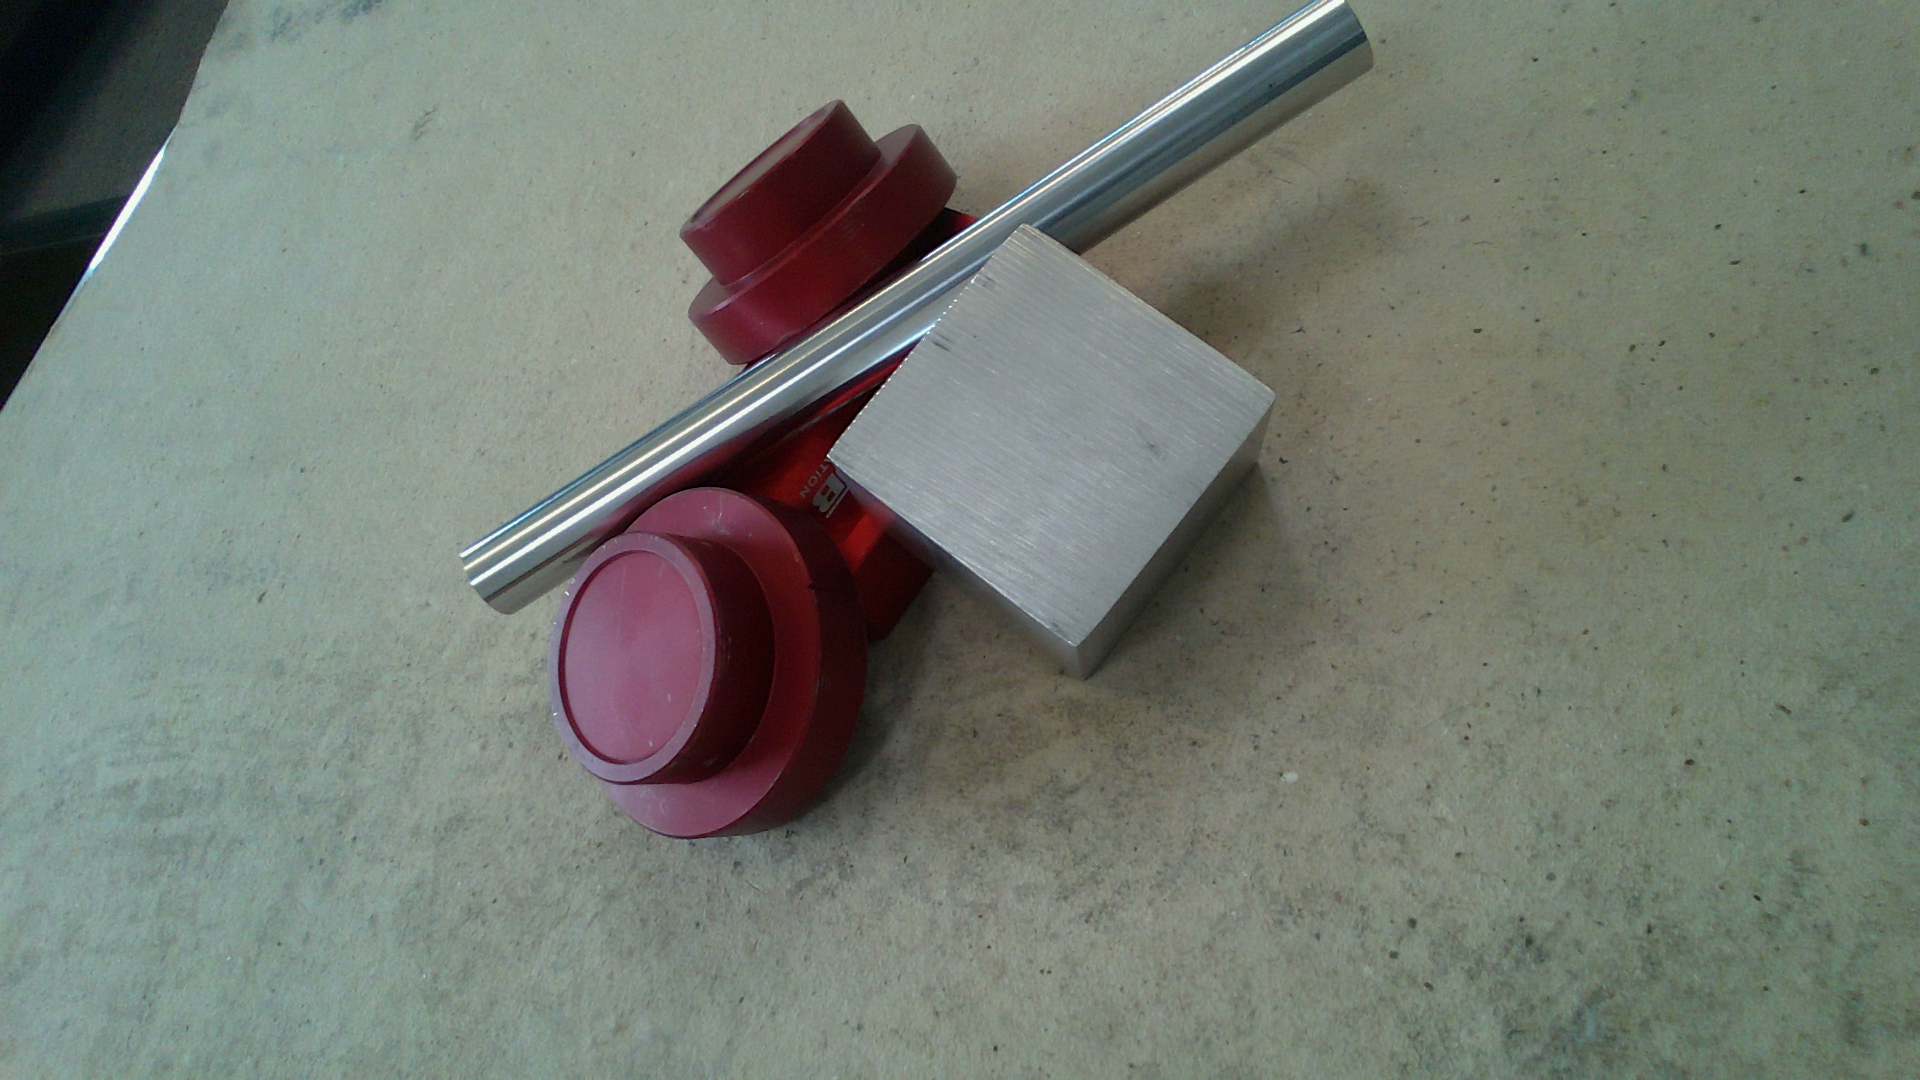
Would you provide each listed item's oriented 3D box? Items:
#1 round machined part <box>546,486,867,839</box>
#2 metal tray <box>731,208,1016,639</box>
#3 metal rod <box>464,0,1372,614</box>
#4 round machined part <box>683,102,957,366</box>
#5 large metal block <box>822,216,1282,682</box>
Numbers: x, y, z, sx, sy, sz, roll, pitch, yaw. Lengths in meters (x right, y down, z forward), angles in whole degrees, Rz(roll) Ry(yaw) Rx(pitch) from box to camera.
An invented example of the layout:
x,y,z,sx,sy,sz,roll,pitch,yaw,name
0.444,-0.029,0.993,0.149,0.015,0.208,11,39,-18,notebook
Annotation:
x,y,z,sx,sy,sz,roll,pitch,yaw,name
-0.076,0.033,0.382,0.098,0.042,0.098,-7,78,35,round machined part
-0.025,-0.043,0.431,0.090,0.030,0.130,27,77,37,metal tray
-0.018,-0.065,0.406,0.300,0.025,0.025,-31,51,8,metal rod
-0.052,-0.105,0.450,0.098,0.042,0.098,-34,23,16,round machined part
0.025,-0.022,0.359,0.080,0.050,0.080,37,82,14,large metal block
